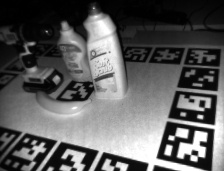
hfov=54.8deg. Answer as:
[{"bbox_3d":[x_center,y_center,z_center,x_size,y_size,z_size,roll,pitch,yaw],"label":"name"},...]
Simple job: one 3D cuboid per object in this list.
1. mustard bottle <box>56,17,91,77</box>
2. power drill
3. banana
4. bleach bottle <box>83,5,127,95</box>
[{"bbox_3d":[-0.122,-0.117,0.671,0.095,0.193,0.058,5,44,21],"label":"mustard bottle"},{"bbox_3d":[-0.240,-0.099,0.654,0.183,0.188,0.057,4,37,17],"label":"power drill"},{"bbox_3d":[-0.151,0.033,0.621,0.195,0.039,0.074,6,48,24],"label":"banana"},{"bbox_3d":[-0.026,-0.085,0.573,0.102,0.253,0.068,-2,43,15],"label":"bleach bottle"}]
